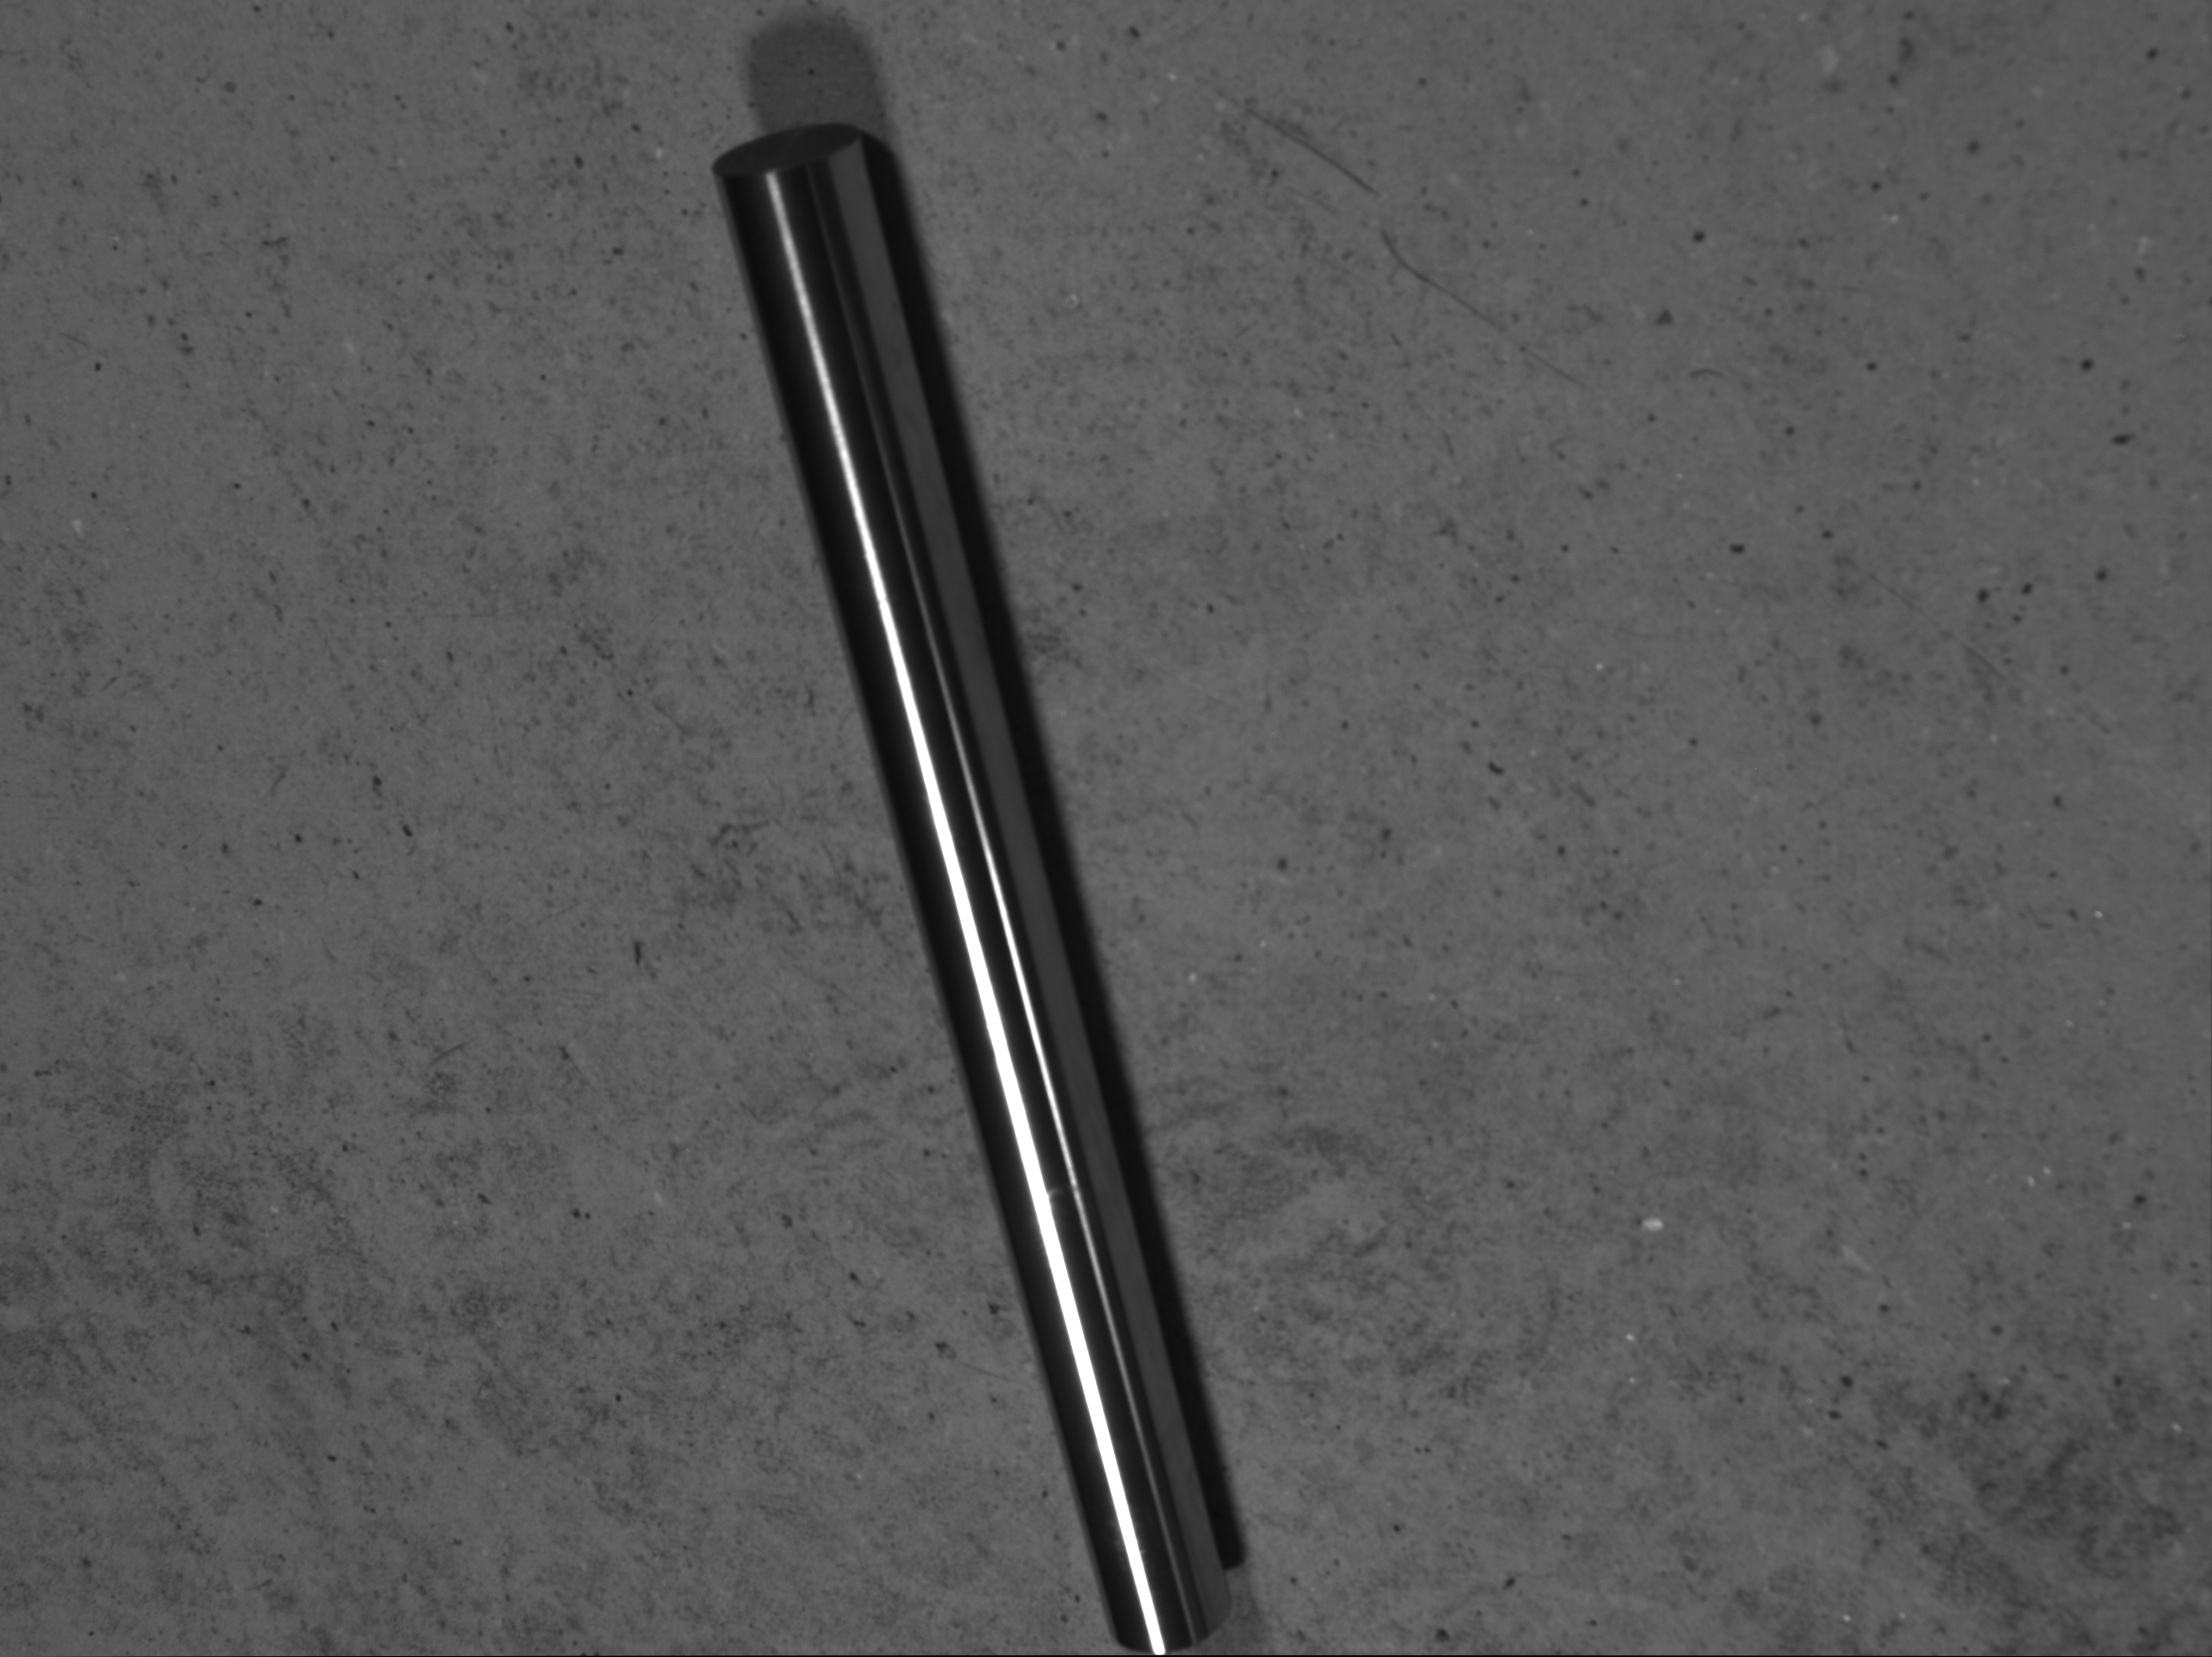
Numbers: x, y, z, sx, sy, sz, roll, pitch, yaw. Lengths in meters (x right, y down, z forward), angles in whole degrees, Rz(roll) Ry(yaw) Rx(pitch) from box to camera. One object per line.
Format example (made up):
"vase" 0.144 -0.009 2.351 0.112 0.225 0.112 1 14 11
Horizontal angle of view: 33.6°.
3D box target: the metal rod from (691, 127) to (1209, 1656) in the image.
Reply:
"metal rod" -0.024 0.023 0.656 0.025 0.025 0.300 0 118 27
